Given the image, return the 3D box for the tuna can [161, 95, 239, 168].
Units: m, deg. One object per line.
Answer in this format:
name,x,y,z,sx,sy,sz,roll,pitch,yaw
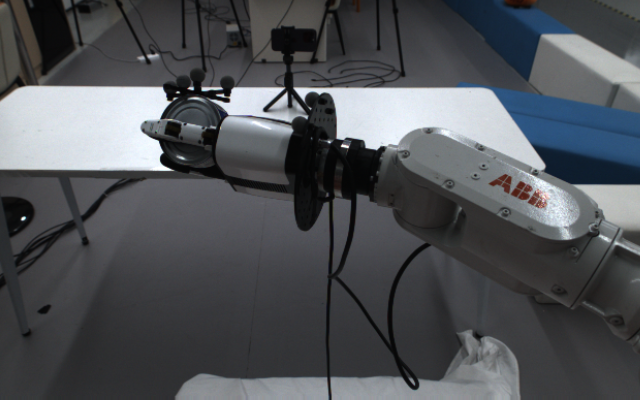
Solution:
tuna can,-0.150,-0.081,0.590,0.085,0.085,0.034,15,0,18
